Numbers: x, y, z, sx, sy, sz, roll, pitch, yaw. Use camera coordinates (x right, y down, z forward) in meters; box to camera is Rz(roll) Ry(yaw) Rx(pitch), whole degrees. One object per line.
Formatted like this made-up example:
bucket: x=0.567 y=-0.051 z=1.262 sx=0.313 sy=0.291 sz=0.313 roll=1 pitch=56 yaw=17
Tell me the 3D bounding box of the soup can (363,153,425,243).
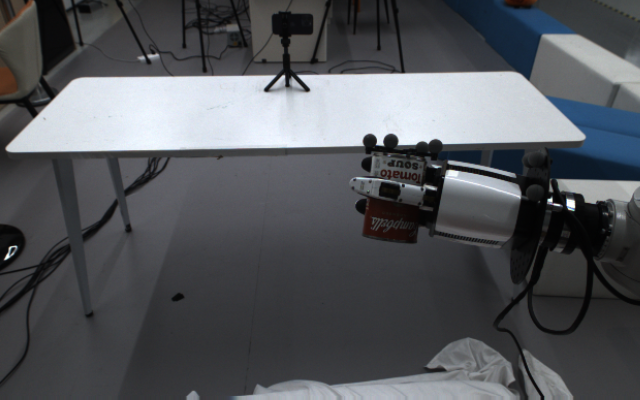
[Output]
soup can: x=0.092 y=-0.003 z=0.586 sx=0.067 sy=0.101 sz=0.067 roll=7 pitch=3 yaw=0
